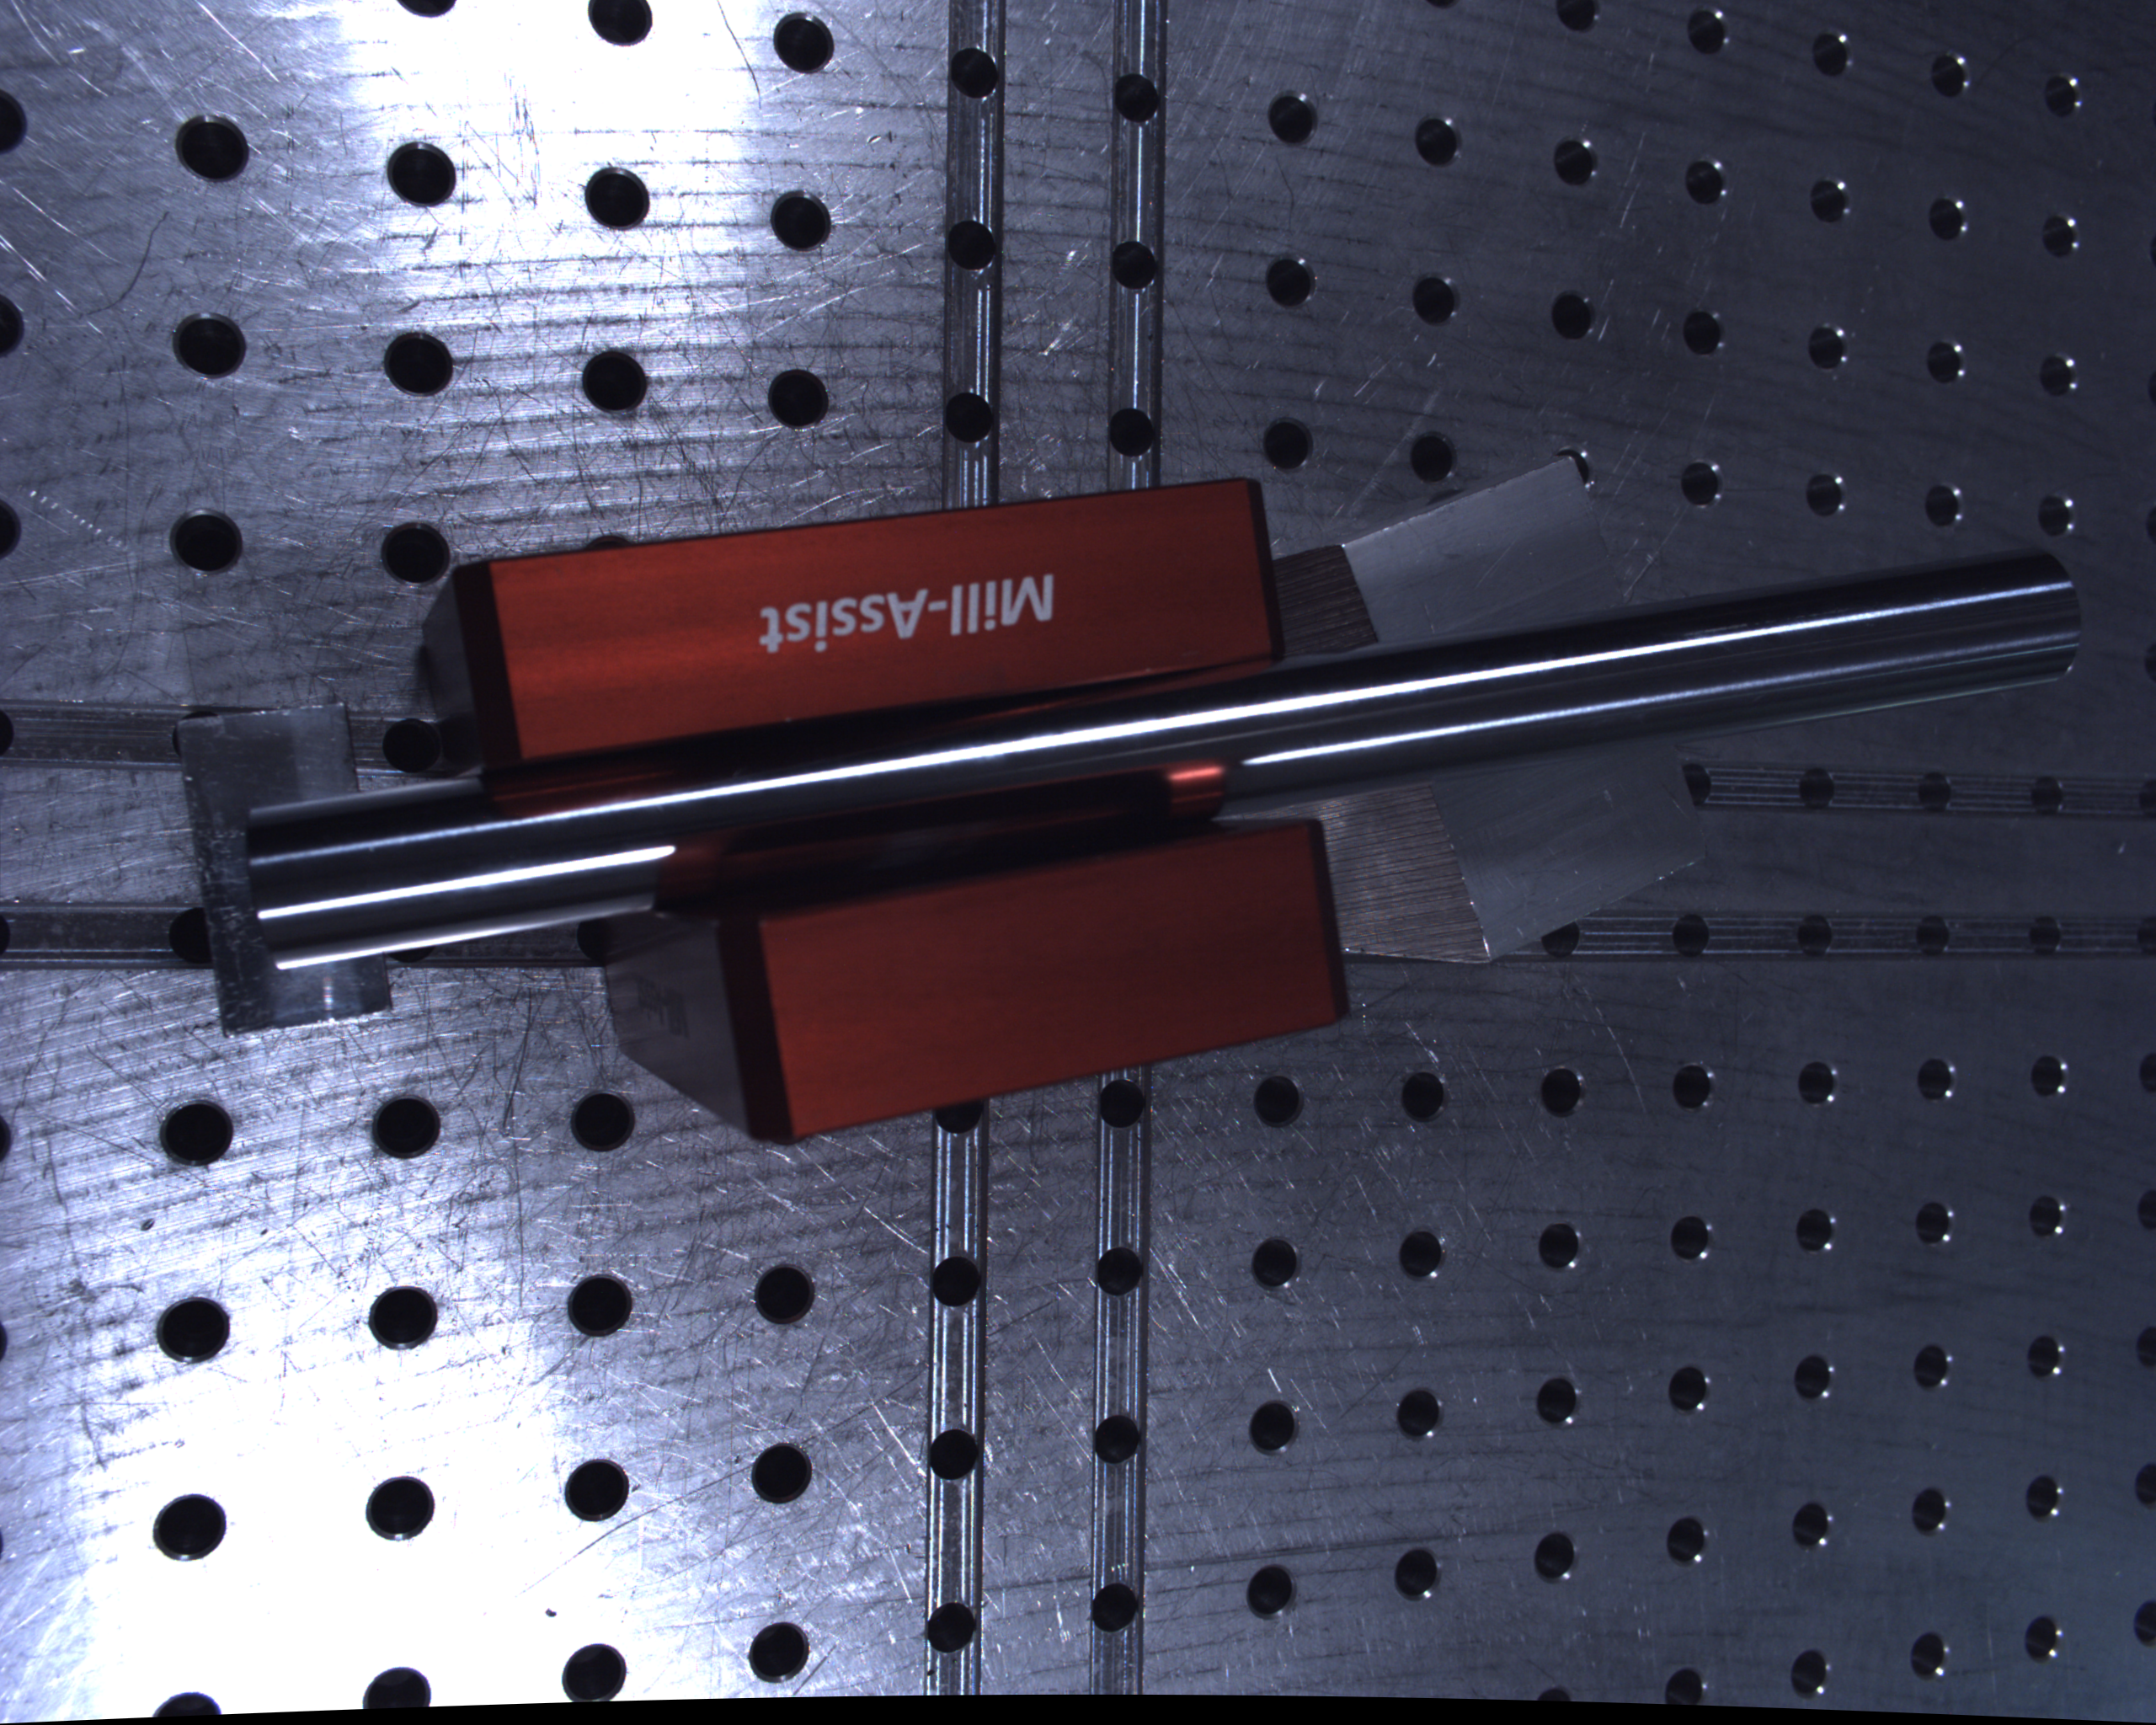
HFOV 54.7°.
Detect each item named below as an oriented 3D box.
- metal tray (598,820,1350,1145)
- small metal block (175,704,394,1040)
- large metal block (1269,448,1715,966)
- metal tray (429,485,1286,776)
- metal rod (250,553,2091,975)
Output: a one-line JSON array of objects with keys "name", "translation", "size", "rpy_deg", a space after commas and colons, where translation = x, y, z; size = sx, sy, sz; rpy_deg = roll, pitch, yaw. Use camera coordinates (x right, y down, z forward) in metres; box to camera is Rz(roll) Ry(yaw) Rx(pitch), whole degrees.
[{"name": "metal tray", "translation": [-0.025, 0.015, 0.348], "size": [0.091, 0.130, 0.030], "rpy_deg": [-10, 94, -20]}, {"name": "small metal block", "translation": [-0.133, 0.001, 0.350], "size": [0.025, 0.050, 0.050], "rpy_deg": [-9, 93, -20]}, {"name": "large metal block", "translation": [0.067, -0.028, 0.408], "size": [0.050, 0.080, 0.080], "rpy_deg": [-24, 98, -19]}, {"name": "metal tray", "translation": [-0.042, -0.039, 0.362], "size": [0.131, 0.090, 0.030], "rpy_deg": [-10, 95, -20]}, {"name": "metal rod", "translation": [0.025, -0.019, 0.343], "size": [0.302, 0.025, 0.025], "rpy_deg": [-9, 94, -11]}]
